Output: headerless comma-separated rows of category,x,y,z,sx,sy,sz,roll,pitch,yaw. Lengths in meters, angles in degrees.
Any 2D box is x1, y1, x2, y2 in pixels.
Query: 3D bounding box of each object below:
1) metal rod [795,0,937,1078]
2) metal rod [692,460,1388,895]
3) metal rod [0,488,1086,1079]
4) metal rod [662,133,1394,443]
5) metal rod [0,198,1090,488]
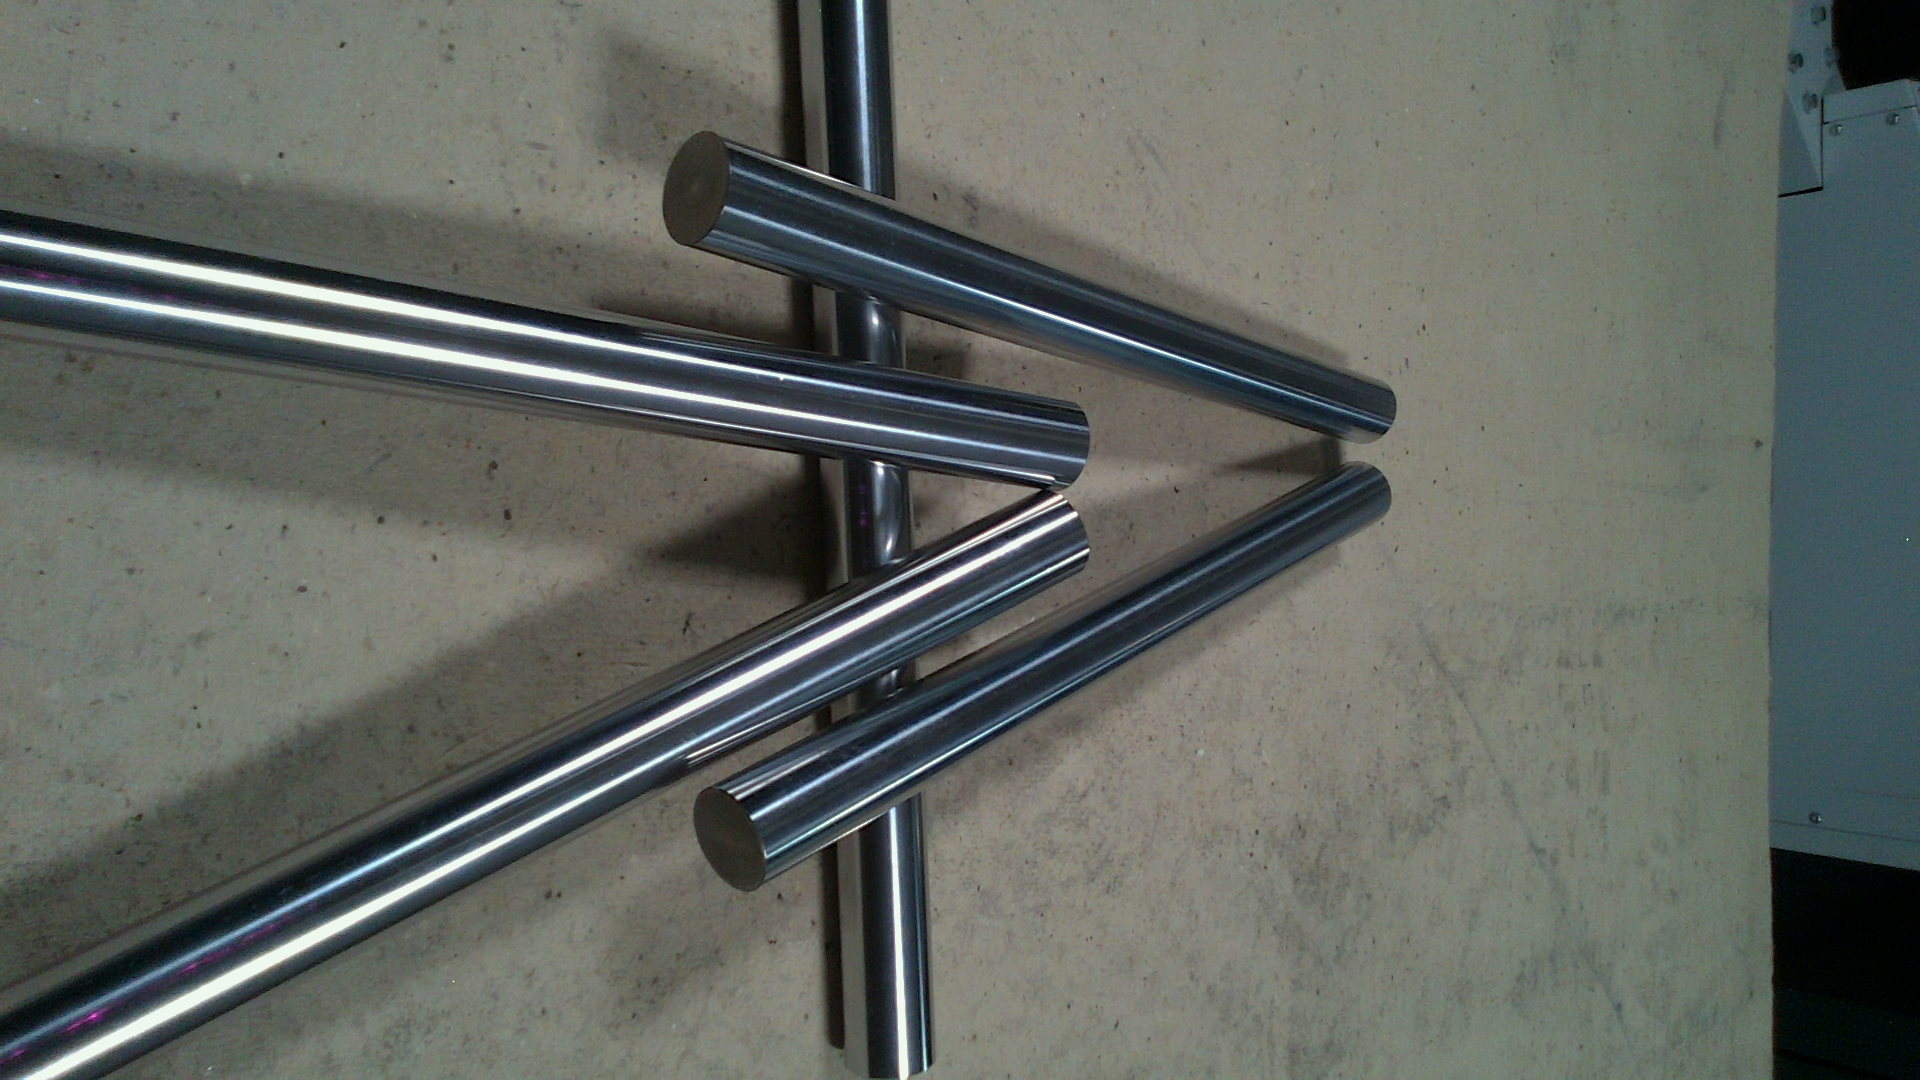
metal rod,-0.025,-0.009,0.368,0.025,0.025,0.300,-4,93,-40
metal rod,0.048,0.024,0.409,0.301,0.025,0.025,-23,105,-44
metal rod,-0.090,0.054,0.296,0.301,0.025,0.025,-26,106,-31
metal rod,0.047,-0.062,0.407,0.301,0.025,0.025,7,85,-46
metal rod,-0.097,-0.039,0.290,0.301,0.025,0.025,6,86,-34
